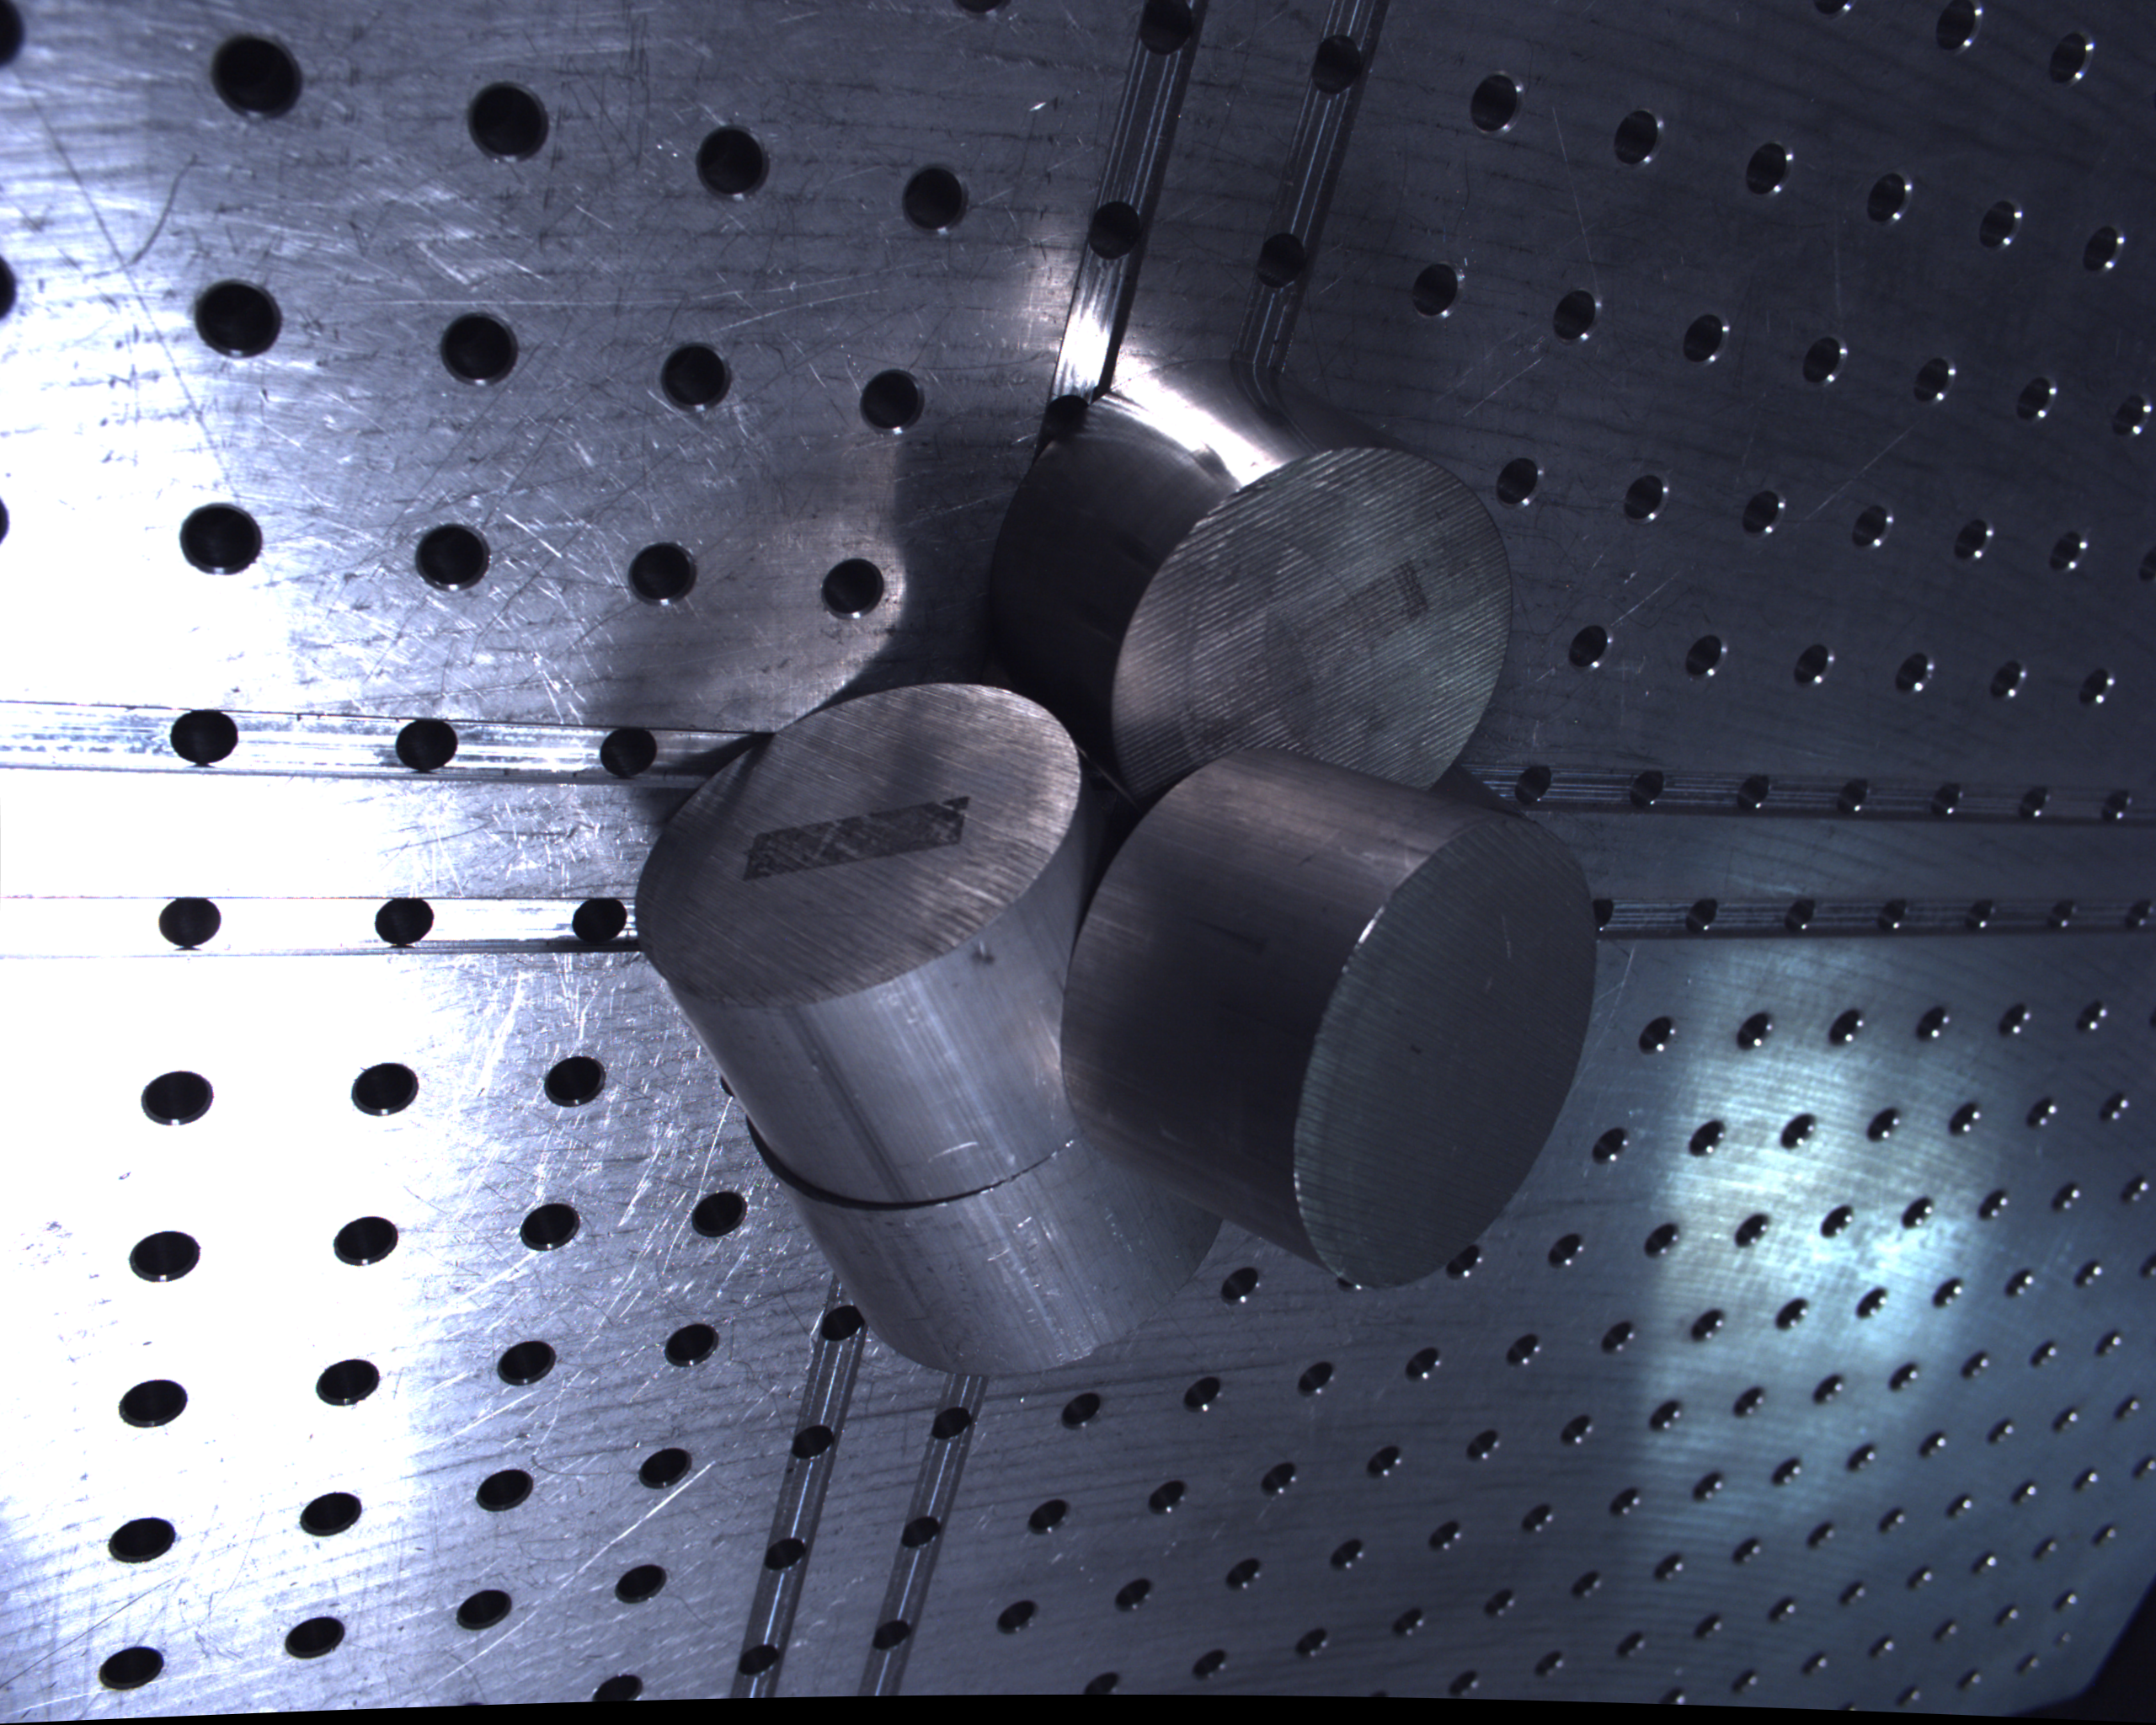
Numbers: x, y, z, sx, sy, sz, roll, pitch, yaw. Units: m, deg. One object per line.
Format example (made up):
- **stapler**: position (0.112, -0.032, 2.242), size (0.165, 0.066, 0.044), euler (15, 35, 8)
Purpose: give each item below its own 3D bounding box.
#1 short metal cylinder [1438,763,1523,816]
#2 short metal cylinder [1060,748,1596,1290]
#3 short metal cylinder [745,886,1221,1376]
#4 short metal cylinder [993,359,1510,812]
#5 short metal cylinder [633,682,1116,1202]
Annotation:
- **short metal cylinder**: position (0.055, 0.012, 0.434), size (0.081, 0.050, 0.079), euler (-14, 125, -21)
- **short metal cylinder**: position (0.043, 0.025, 0.352), size (0.081, 0.050, 0.079), euler (-20, 120, -41)
- **short metal cylinder**: position (-0.016, 0.050, 0.399), size (0.080, 0.080, 0.050), euler (-30, 129, -10)
- **short metal cylinder**: position (0.031, -0.046, 0.384), size (0.081, 0.050, 0.079), euler (-14, 125, -21)
- **short metal cylinder**: position (-0.030, 0.013, 0.368), size (0.080, 0.080, 0.050), euler (-30, 129, -10)
